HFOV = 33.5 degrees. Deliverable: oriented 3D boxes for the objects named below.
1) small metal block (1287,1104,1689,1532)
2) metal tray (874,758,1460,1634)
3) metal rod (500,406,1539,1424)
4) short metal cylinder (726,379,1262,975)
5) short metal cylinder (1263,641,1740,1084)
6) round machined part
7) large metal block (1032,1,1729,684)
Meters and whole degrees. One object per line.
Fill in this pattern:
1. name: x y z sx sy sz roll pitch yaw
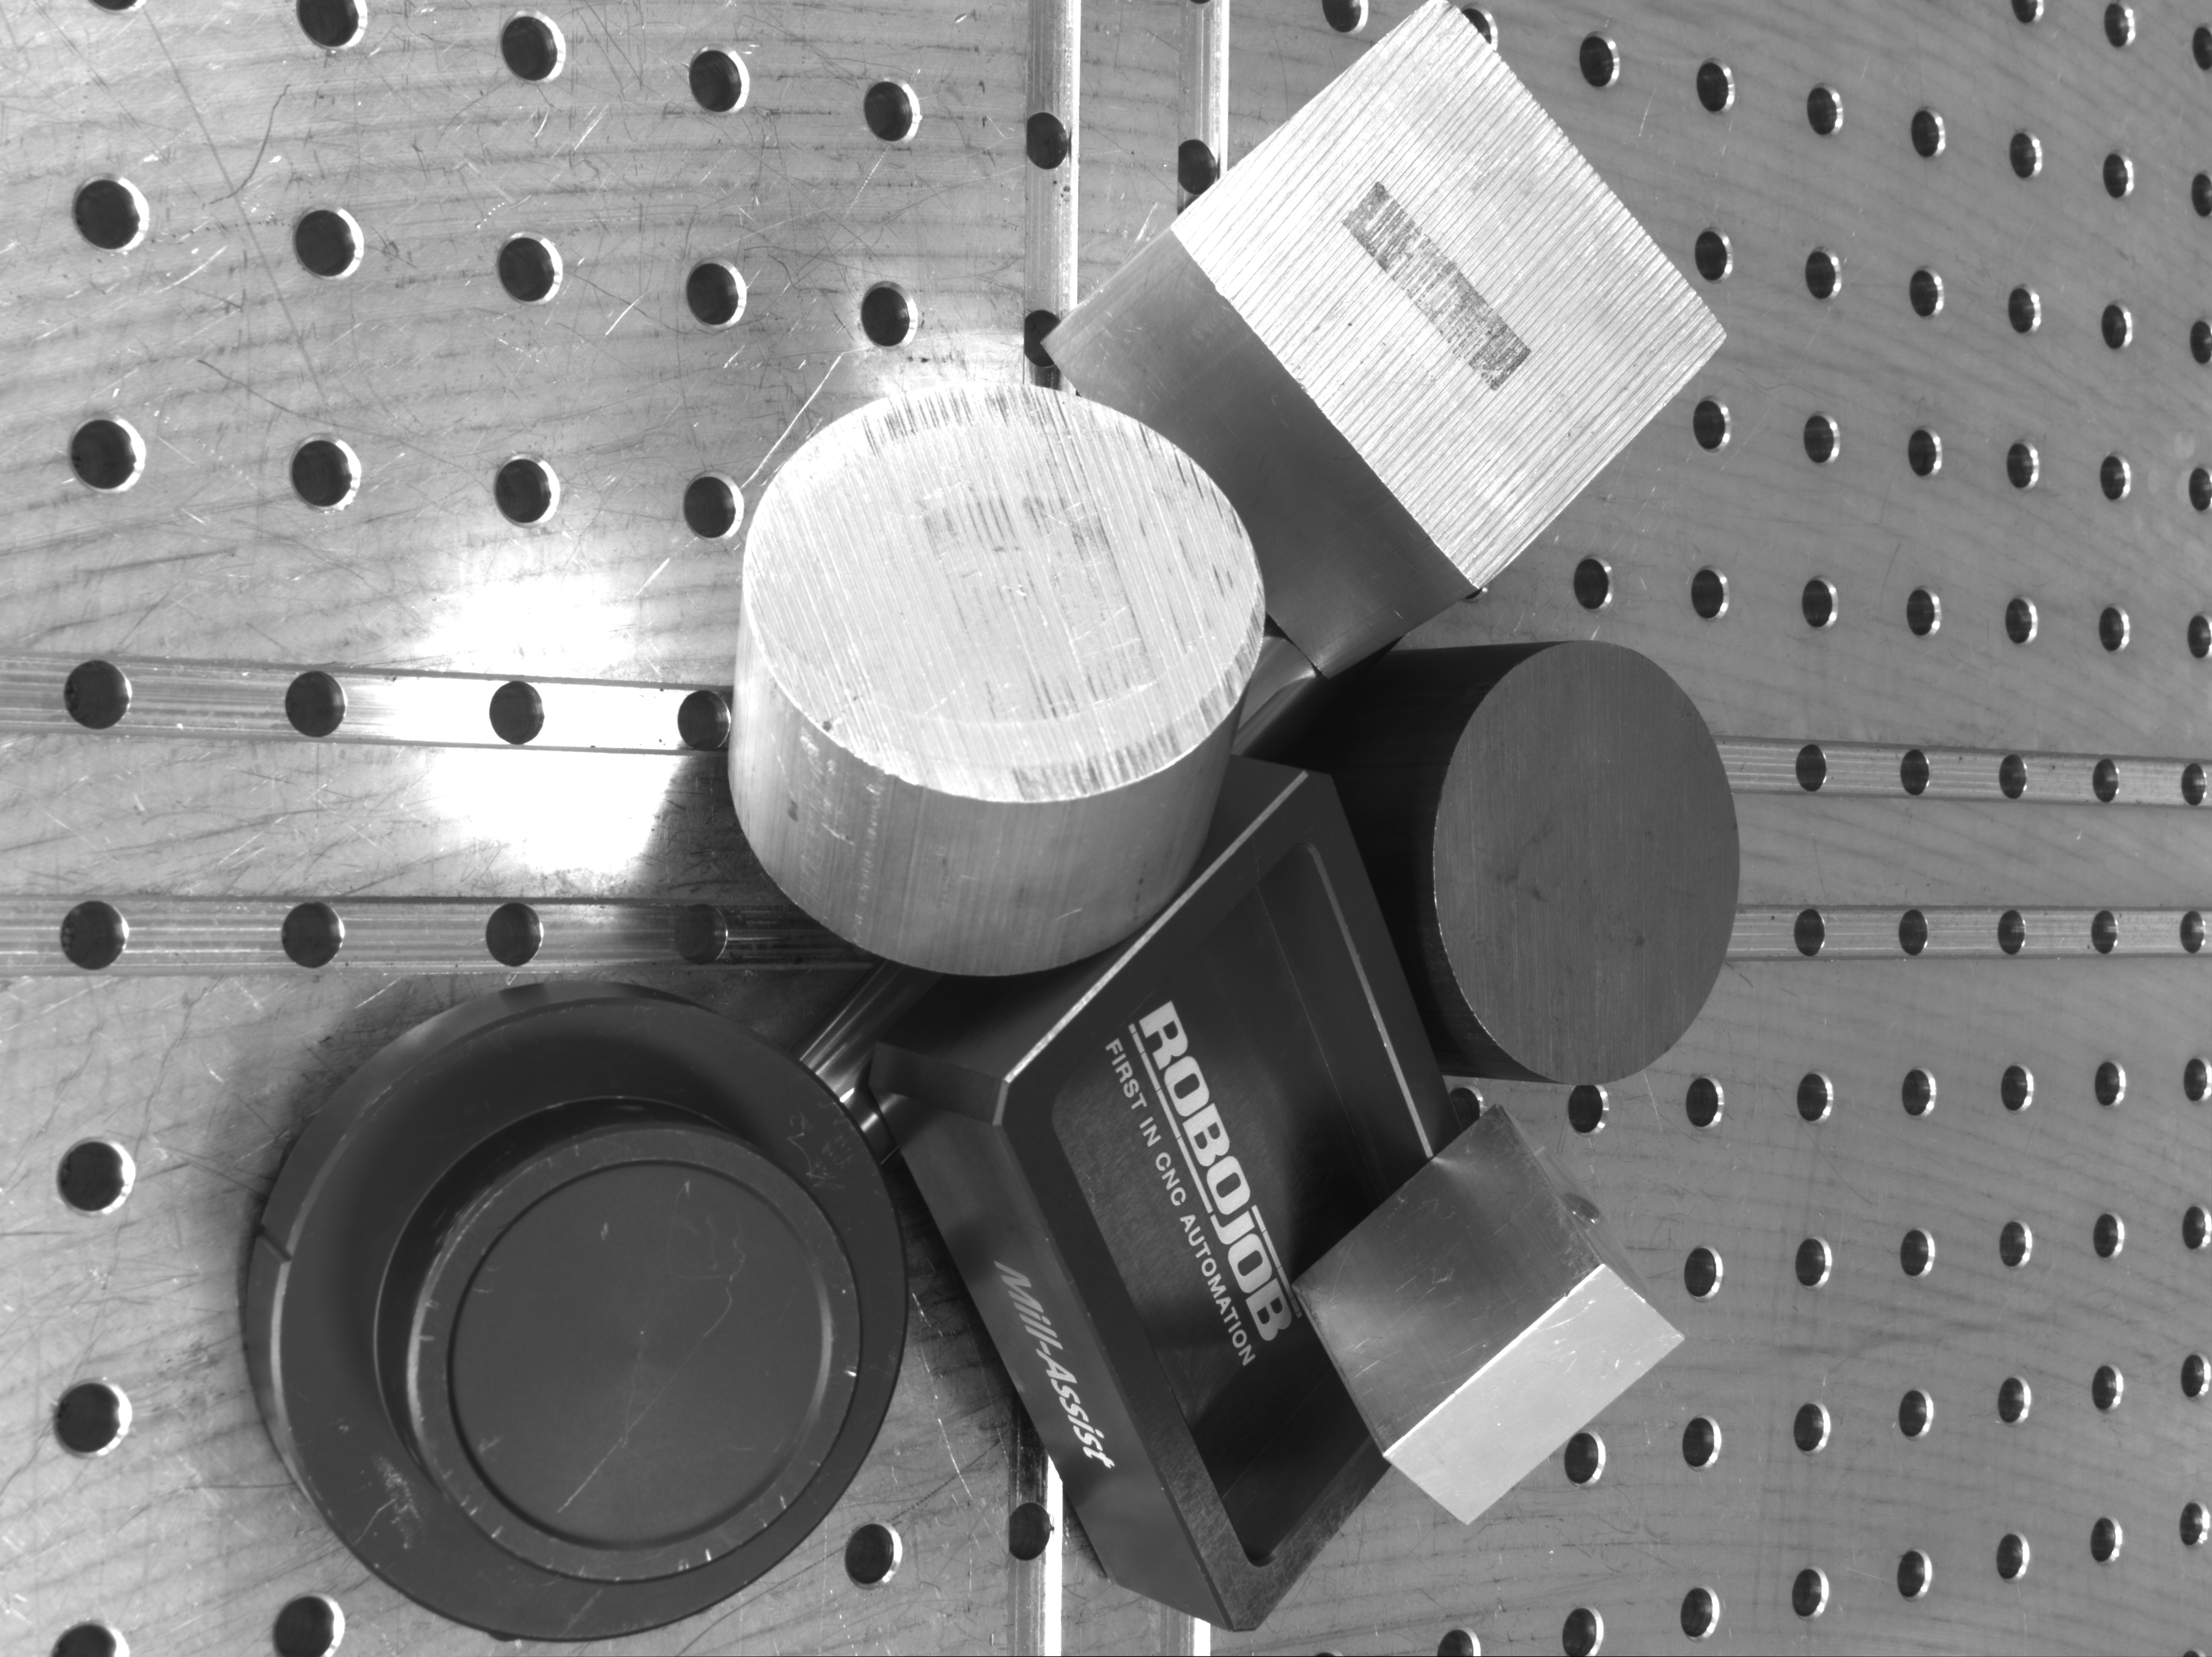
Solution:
1. small metal block: 0.066 0.085 0.640 0.050 0.050 0.025 -42 124 8
2. metal tray: 0.020 0.063 0.634 0.090 0.030 0.130 -45 129 -30
3. metal rod: 0.006 -0.005 0.646 0.300 0.025 0.025 -45 117 -30
4. short metal cylinder: -0.019 -0.024 0.581 0.080 0.050 0.080 4 57 -6
5. short metal cylinder: 0.072 0.006 0.682 0.080 0.050 0.080 0 90 -40
6. round machined part: -0.075 0.074 0.549 0.098 0.042 0.098 -3 97 -24
7. large metal block: 0.049 -0.087 0.649 0.080 0.050 0.080 49 59 -6
